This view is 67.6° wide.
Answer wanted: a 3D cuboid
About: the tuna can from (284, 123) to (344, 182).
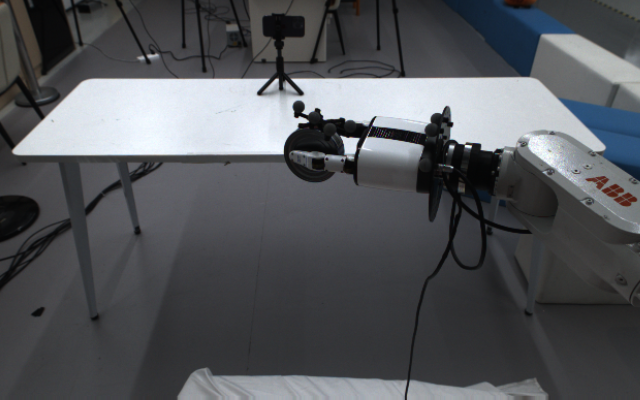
[{"bbox_3d":[-0.007,-0.071,0.718,0.085,0.085,0.034,12,30,15],"label":"tuna can"}]
